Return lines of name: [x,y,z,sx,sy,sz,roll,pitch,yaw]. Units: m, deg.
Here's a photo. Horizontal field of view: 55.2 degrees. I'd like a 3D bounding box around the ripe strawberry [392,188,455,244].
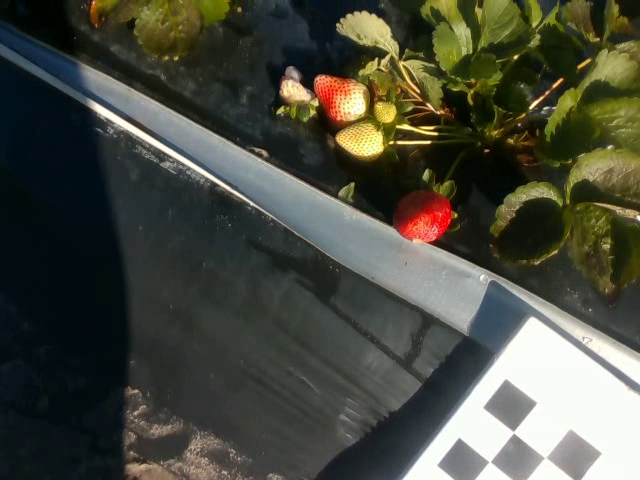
ripe strawberry: [0.053,-0.012,0.331,0.036,0.038,0.045,36,20,15]
